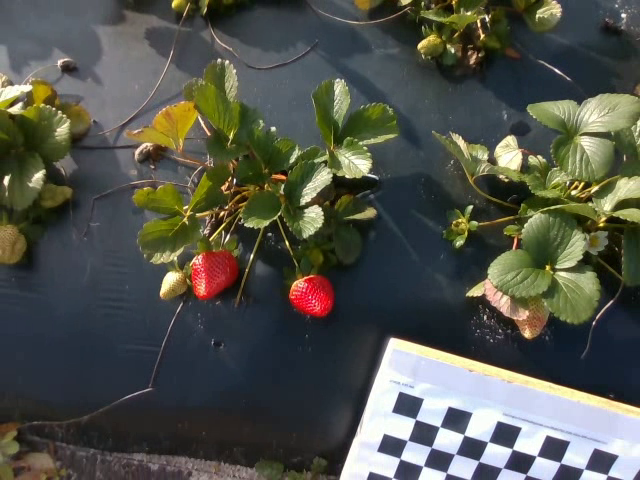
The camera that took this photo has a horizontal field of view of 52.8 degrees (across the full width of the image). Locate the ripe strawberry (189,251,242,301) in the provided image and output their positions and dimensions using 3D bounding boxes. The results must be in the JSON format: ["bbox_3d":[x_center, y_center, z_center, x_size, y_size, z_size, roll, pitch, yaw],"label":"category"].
[{"bbox_3d":[-0.072,0.025,0.422,0.035,0.041,0.036,3,44,11],"label":"ripe strawberry"}]

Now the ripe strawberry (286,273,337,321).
[{"bbox_3d":[-0.004,0.040,0.422,0.033,0.038,0.039,17,32,-19],"label":"ripe strawberry"}]
